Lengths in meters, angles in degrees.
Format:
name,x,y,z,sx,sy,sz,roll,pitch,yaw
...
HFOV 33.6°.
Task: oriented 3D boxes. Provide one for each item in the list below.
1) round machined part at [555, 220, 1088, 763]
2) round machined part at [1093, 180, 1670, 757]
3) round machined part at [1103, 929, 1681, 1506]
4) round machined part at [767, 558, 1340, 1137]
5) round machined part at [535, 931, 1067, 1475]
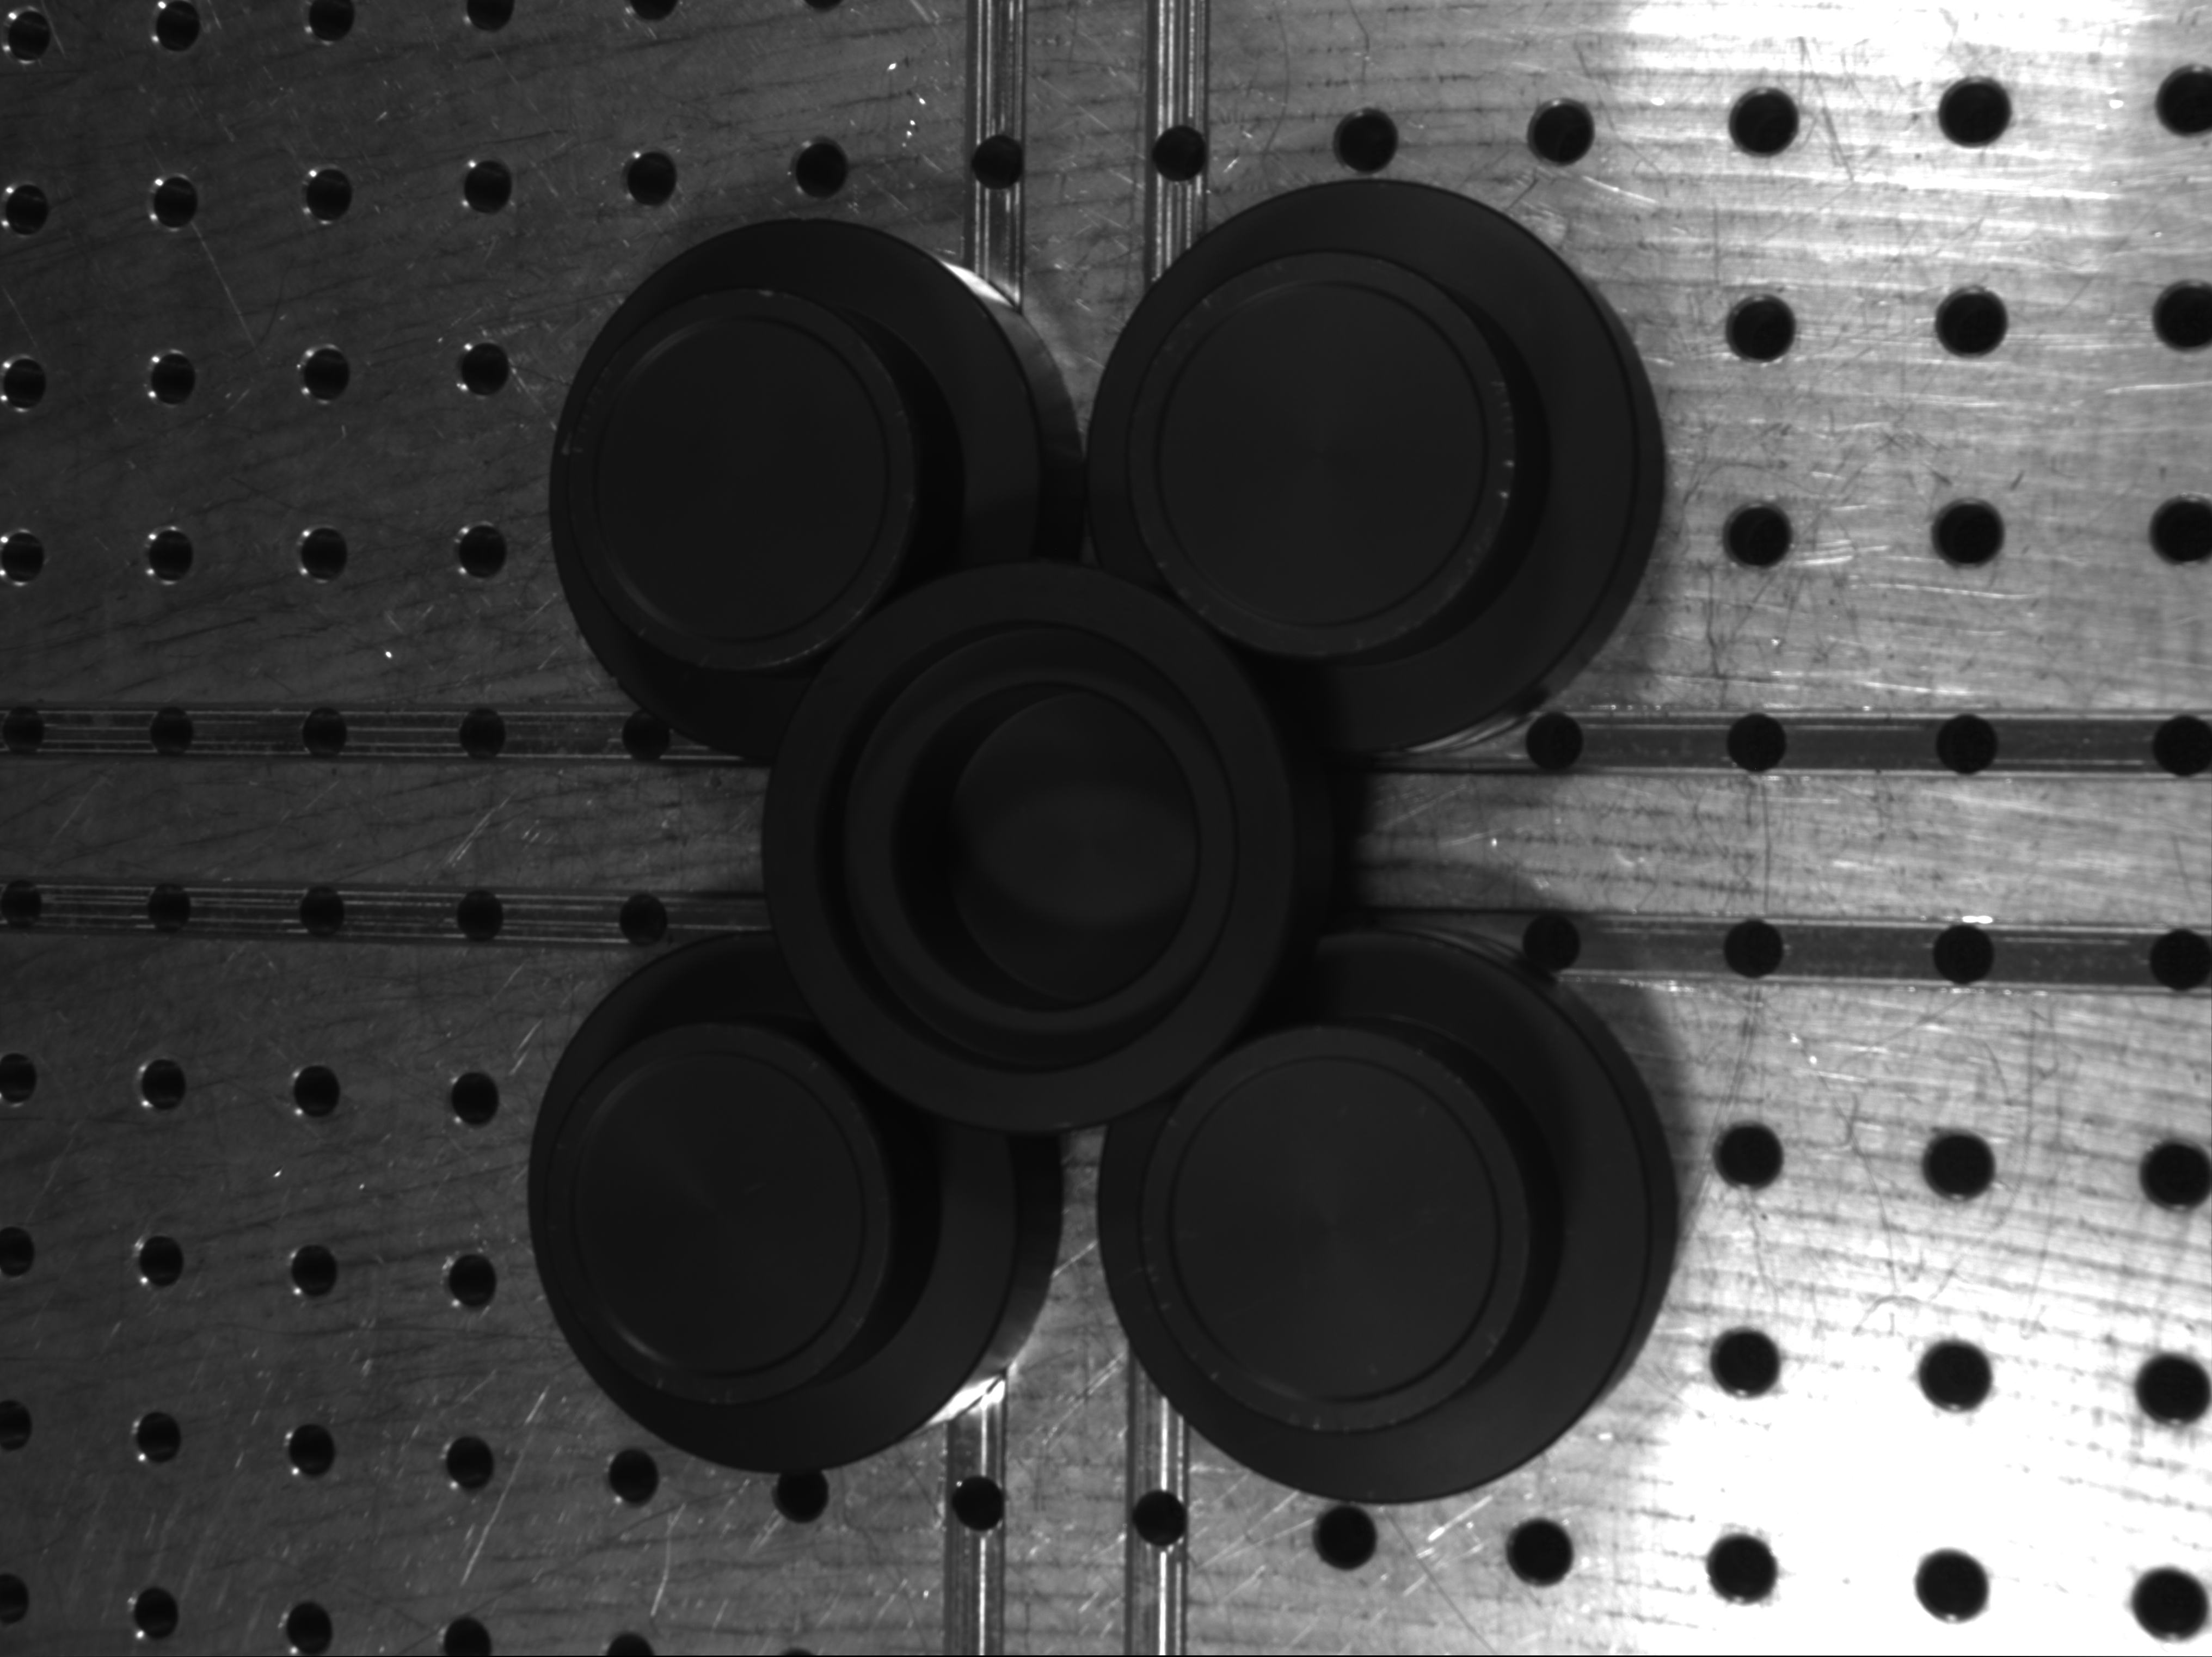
name,x,y,z,sx,sy,sz,roll,pitch,yaw
round machined part,-0.056,-0.060,0.657,0.098,0.042,0.098,0,90,20
round machined part,0.043,-0.061,0.622,0.098,0.042,0.098,0,90,20
round machined part,0.045,0.066,0.621,0.098,0.042,0.098,0,90,20
round machined part,-0.006,0.003,0.638,0.098,0.042,0.098,0,90,20
round machined part,-0.060,0.067,0.659,0.098,0.042,0.098,0,90,20
